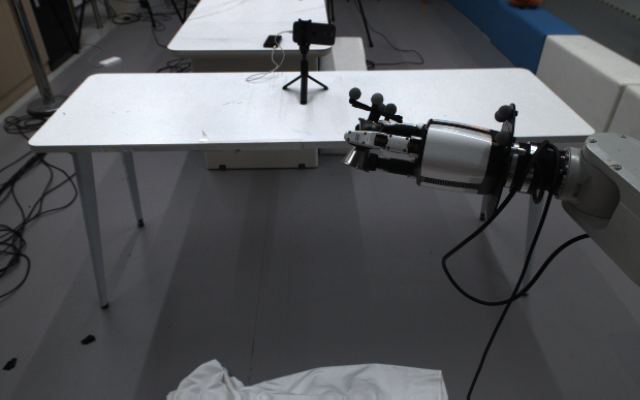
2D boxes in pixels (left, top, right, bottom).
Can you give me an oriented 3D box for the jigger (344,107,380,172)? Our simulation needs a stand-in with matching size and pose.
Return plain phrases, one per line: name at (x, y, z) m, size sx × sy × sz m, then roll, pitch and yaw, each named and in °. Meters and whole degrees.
jigger at (0.059, -0.080, 0.689) m, size 0.043 × 0.071 × 0.043 m, roll 22°, pitch 6°, yaw -2°
